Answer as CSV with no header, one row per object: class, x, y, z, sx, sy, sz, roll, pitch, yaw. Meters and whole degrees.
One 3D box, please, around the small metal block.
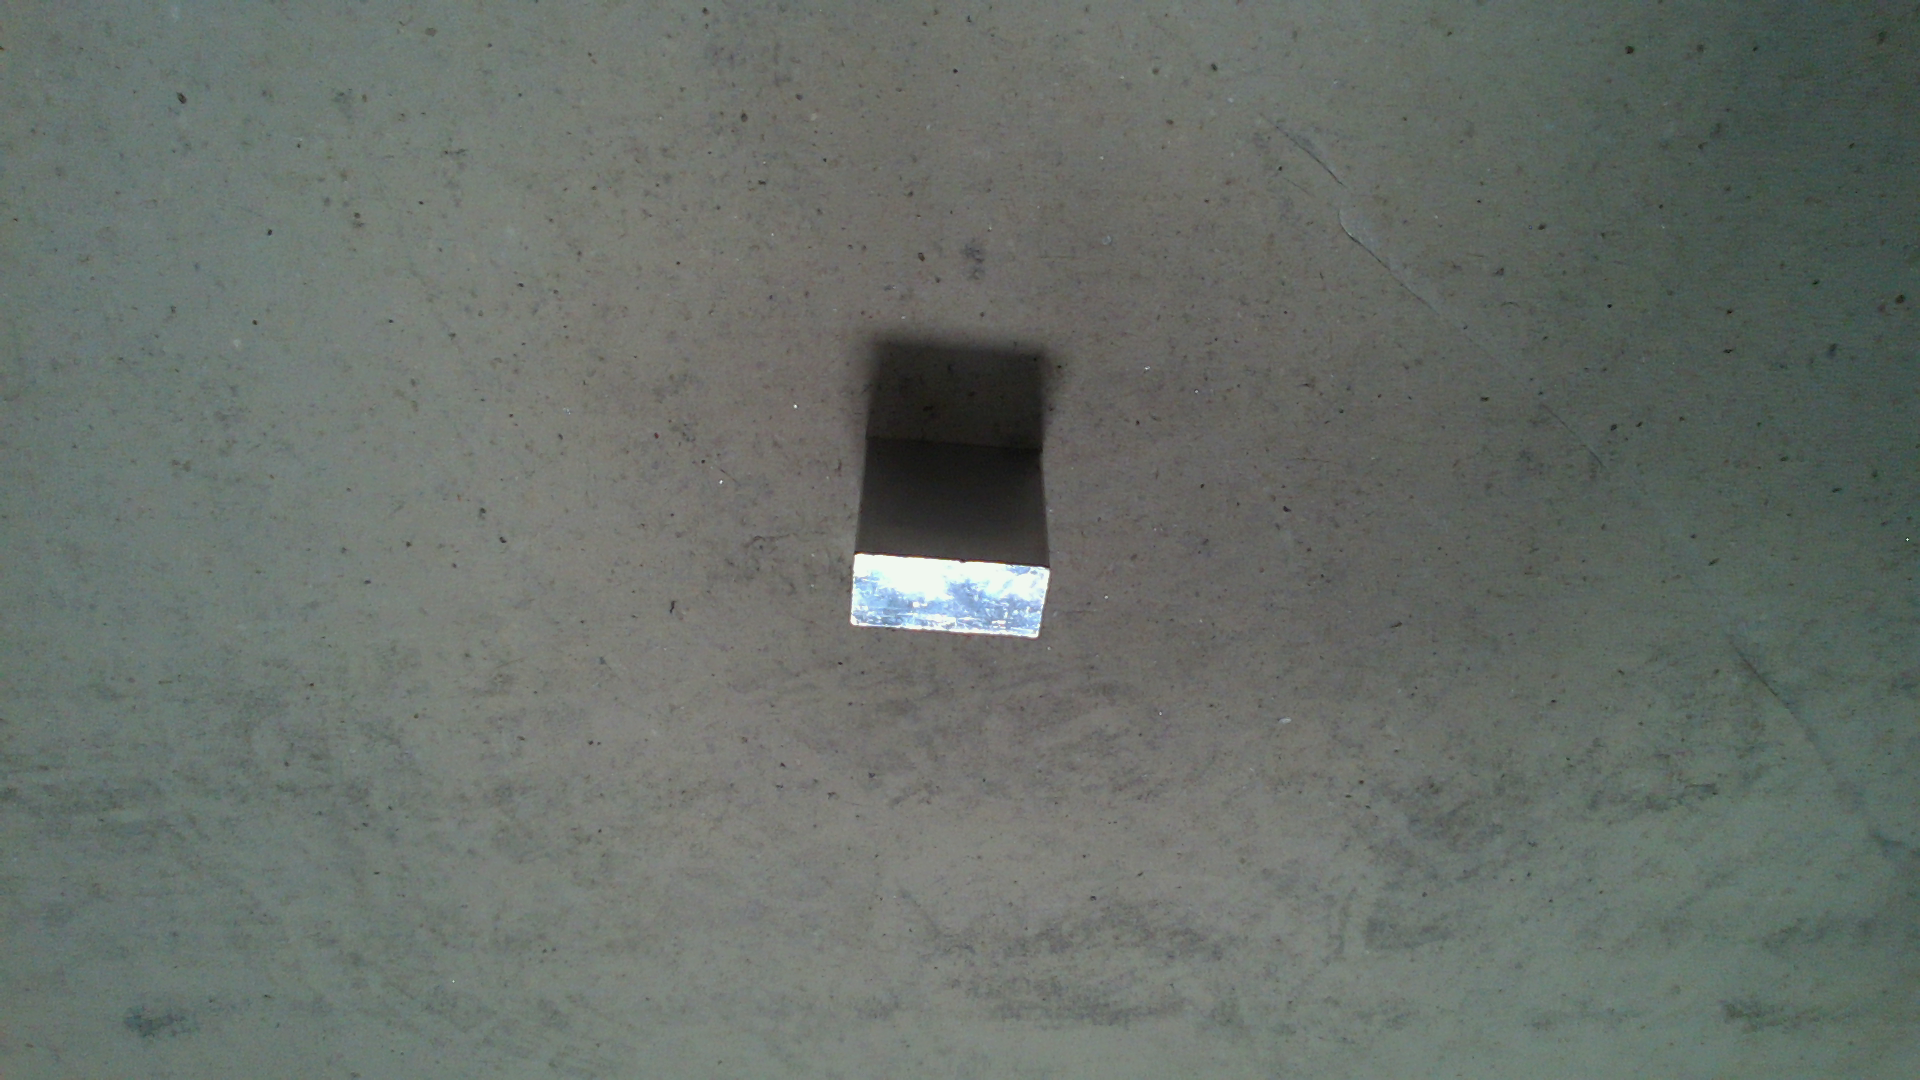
small metal block,-0.002,-0.001,0.373,0.050,0.050,0.025,4,130,-3
